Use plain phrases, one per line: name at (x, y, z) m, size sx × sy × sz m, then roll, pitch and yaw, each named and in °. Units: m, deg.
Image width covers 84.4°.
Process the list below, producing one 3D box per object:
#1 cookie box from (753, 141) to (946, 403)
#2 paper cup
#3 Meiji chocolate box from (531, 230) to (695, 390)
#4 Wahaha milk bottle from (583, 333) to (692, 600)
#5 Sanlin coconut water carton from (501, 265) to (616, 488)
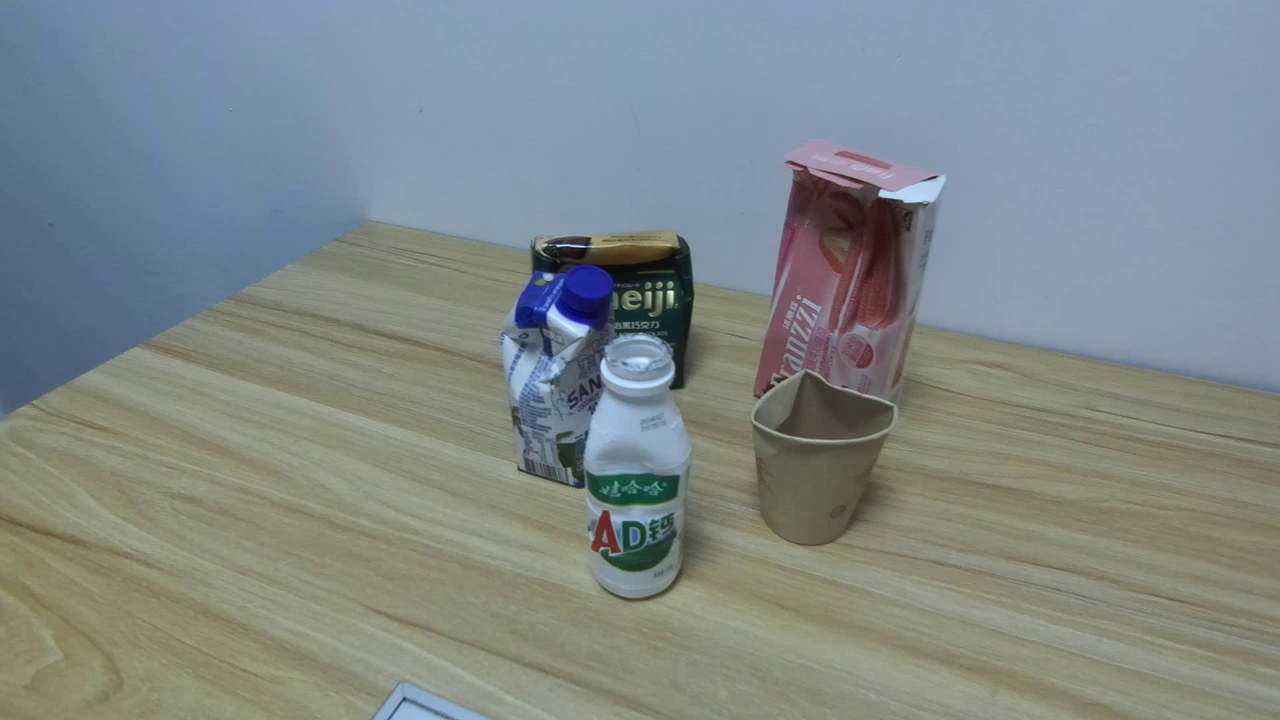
cookie box at (0.132, -0.040, 0.471) m, size 0.056 × 0.184 × 0.118 m, roll -25°, pitch 40°, yaw -33°
paper cup at (0.101, 0.061, 0.408) m, size 0.071 × 0.084 × 0.066 m, roll 23°, pitch 40°, yaw 31°
Meiji chocolate box at (-0.023, -0.036, 0.533) m, size 0.113 × 0.111 × 0.058 m, roll -3°, pitch 23°, yaw -7°
Wahaha milk bottle at (0.000, 0.055, 0.360) m, size 0.055 × 0.149 × 0.055 m, roll 0°, pitch 34°, yaw 0°
Sanlin coconut water carton at (-0.048, 0.008, 0.435) m, size 0.069 × 0.144 × 0.061 m, roll 14°, pitch 37°, yaw 19°
